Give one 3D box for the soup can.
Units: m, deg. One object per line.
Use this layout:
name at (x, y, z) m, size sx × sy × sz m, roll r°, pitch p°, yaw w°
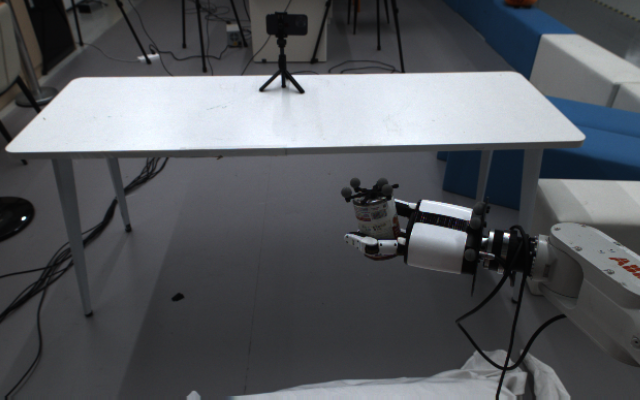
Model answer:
soup can at (0.096, 0.038, 0.788) m, size 0.067 × 0.101 × 0.067 m, roll -13°, pitch 20°, yaw 5°
